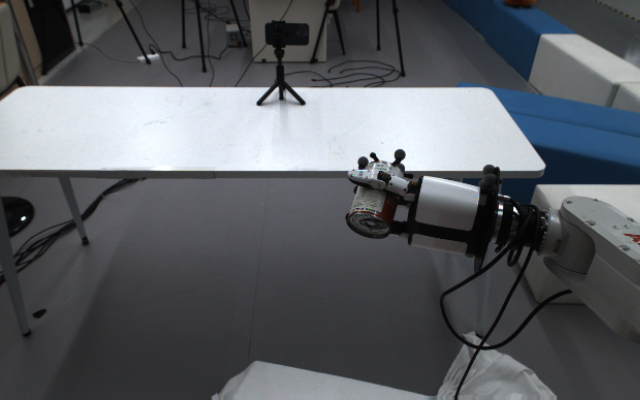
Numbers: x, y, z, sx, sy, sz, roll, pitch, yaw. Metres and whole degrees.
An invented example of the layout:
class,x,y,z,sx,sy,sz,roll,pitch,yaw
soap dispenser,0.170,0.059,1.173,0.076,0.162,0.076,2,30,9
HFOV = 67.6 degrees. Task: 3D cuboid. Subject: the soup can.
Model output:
class,x,y,z,sx,sy,sz,roll,pitch,yaw
soup can,0.086,-0.003,0.741,0.067,0.067,0.101,12,59,14
